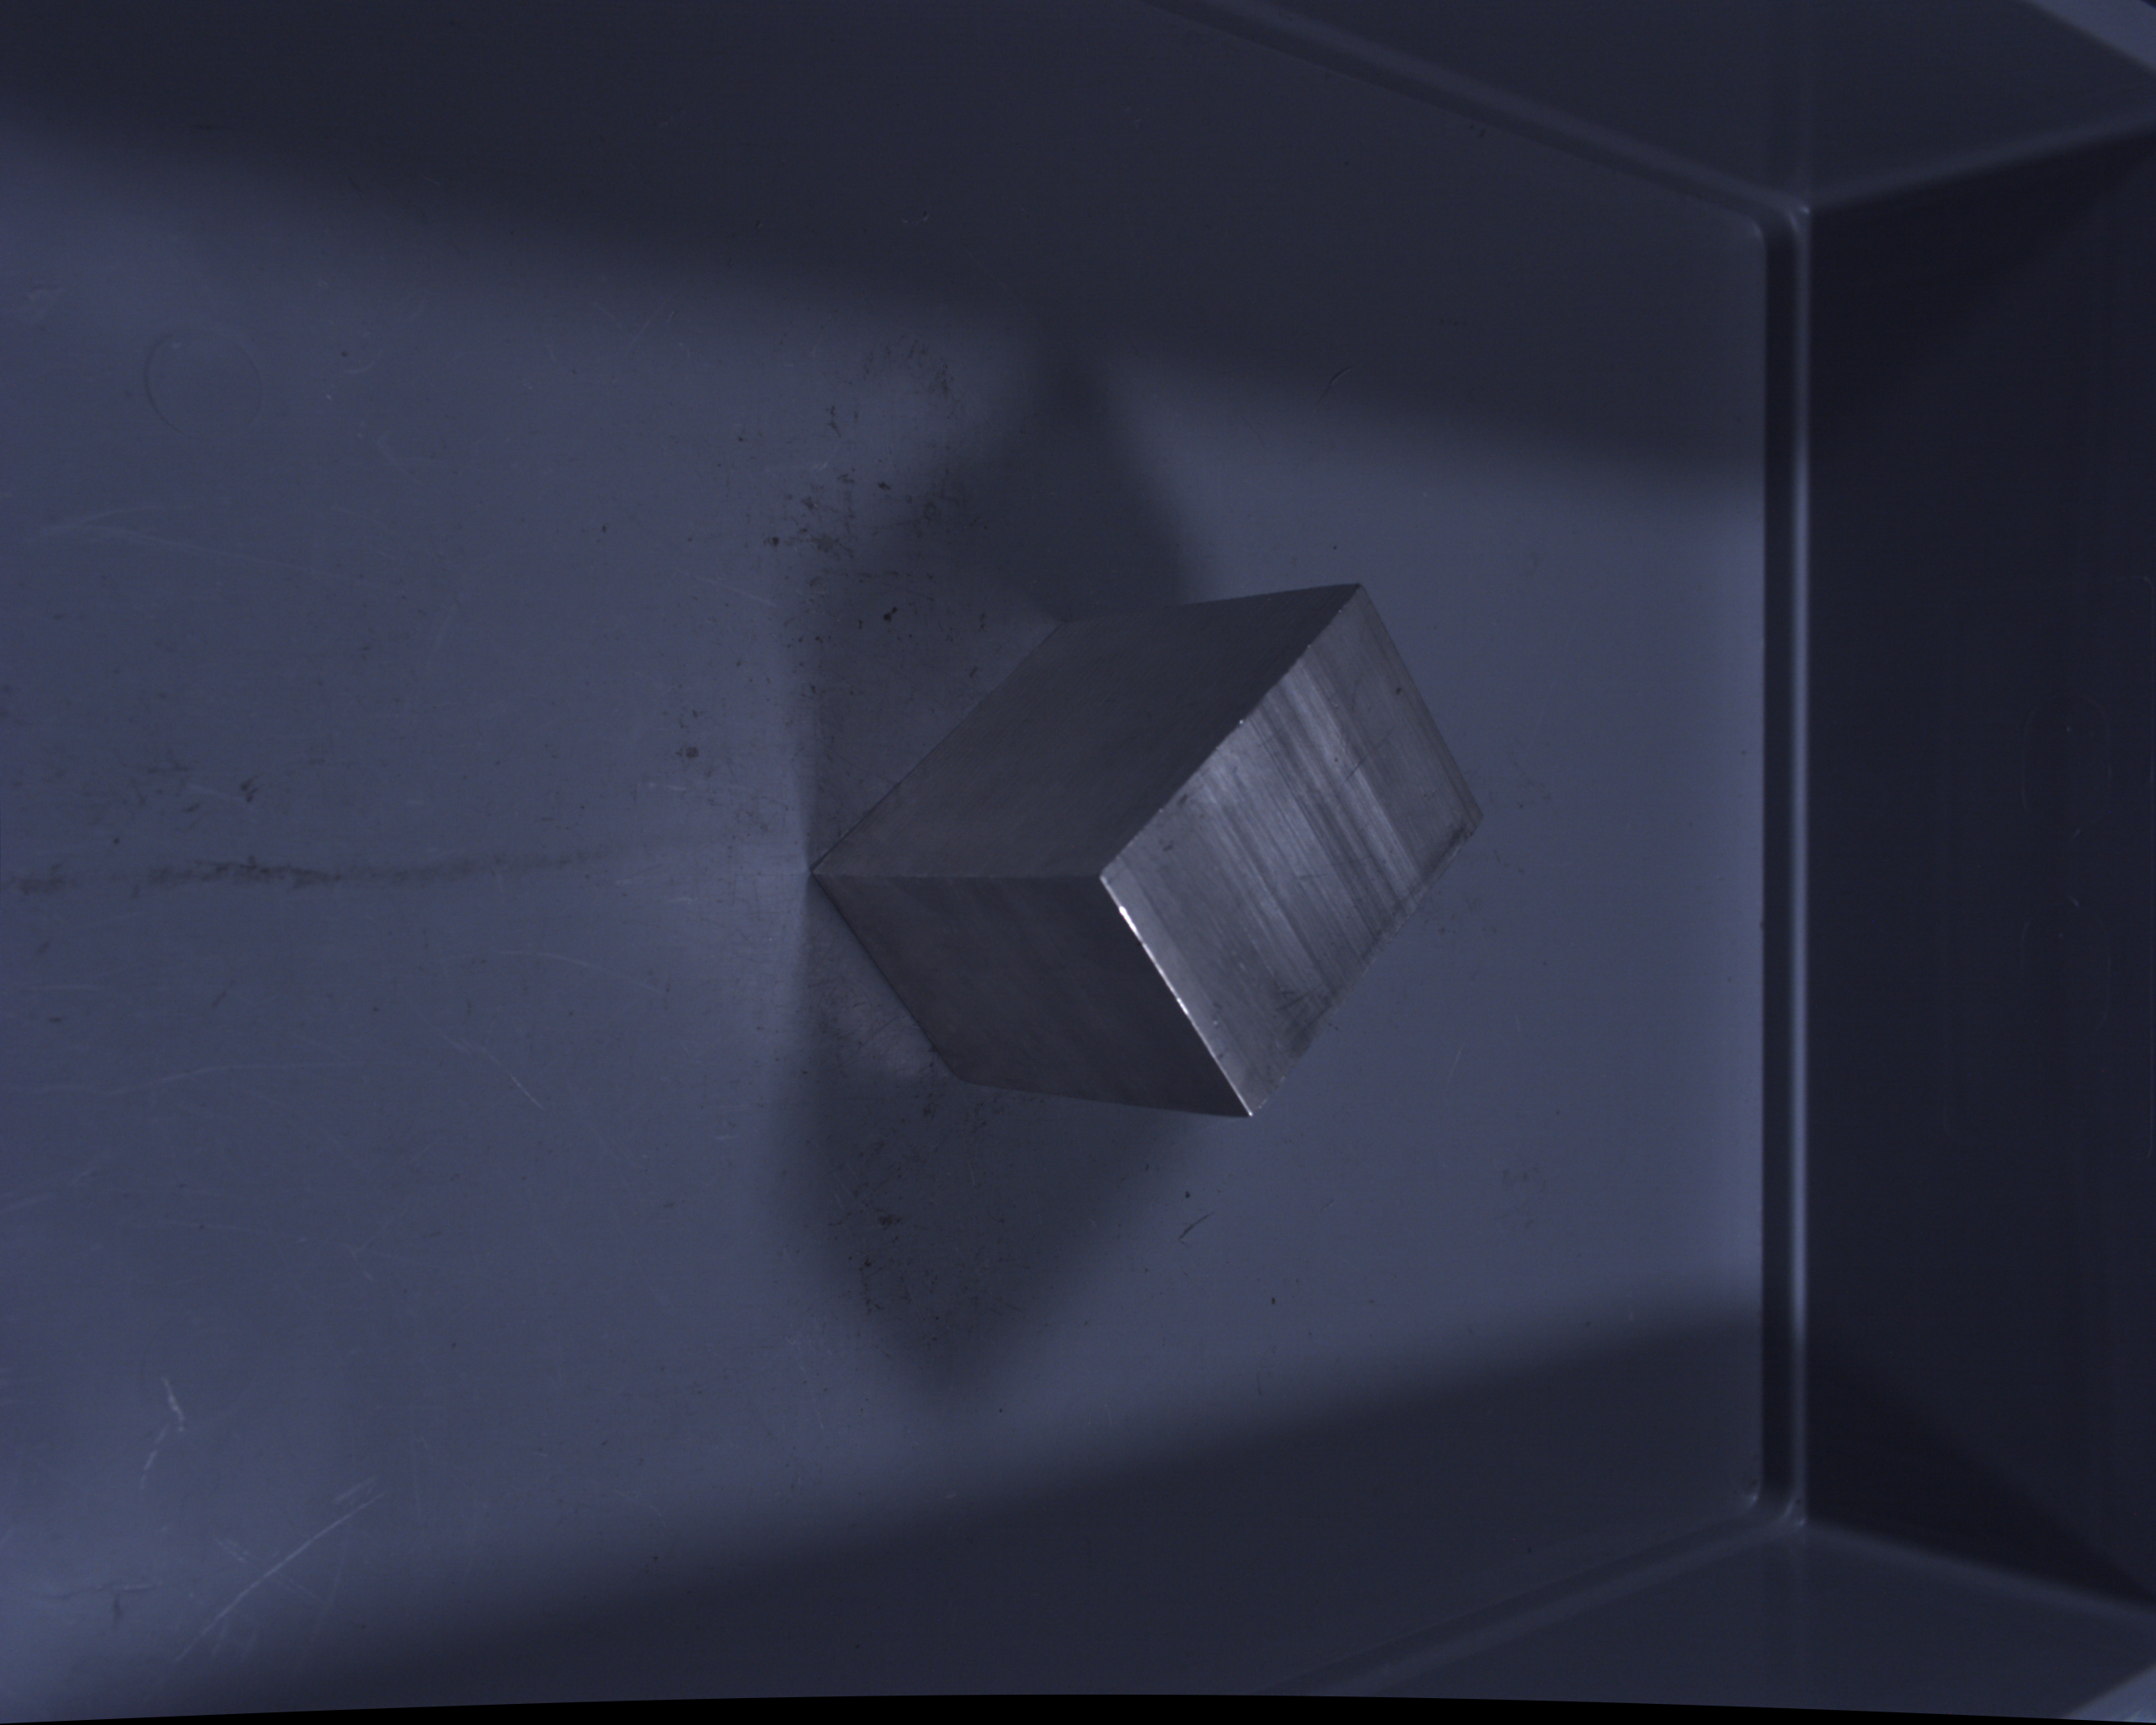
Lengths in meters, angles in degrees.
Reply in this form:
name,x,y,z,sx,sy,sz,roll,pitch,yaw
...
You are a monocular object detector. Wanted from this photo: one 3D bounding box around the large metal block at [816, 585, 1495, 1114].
name,x,y,z,sx,sy,sz,roll,pitch,yaw
large metal block,0.014,-0.004,0.381,0.080,0.080,0.050,-47,119,-30
